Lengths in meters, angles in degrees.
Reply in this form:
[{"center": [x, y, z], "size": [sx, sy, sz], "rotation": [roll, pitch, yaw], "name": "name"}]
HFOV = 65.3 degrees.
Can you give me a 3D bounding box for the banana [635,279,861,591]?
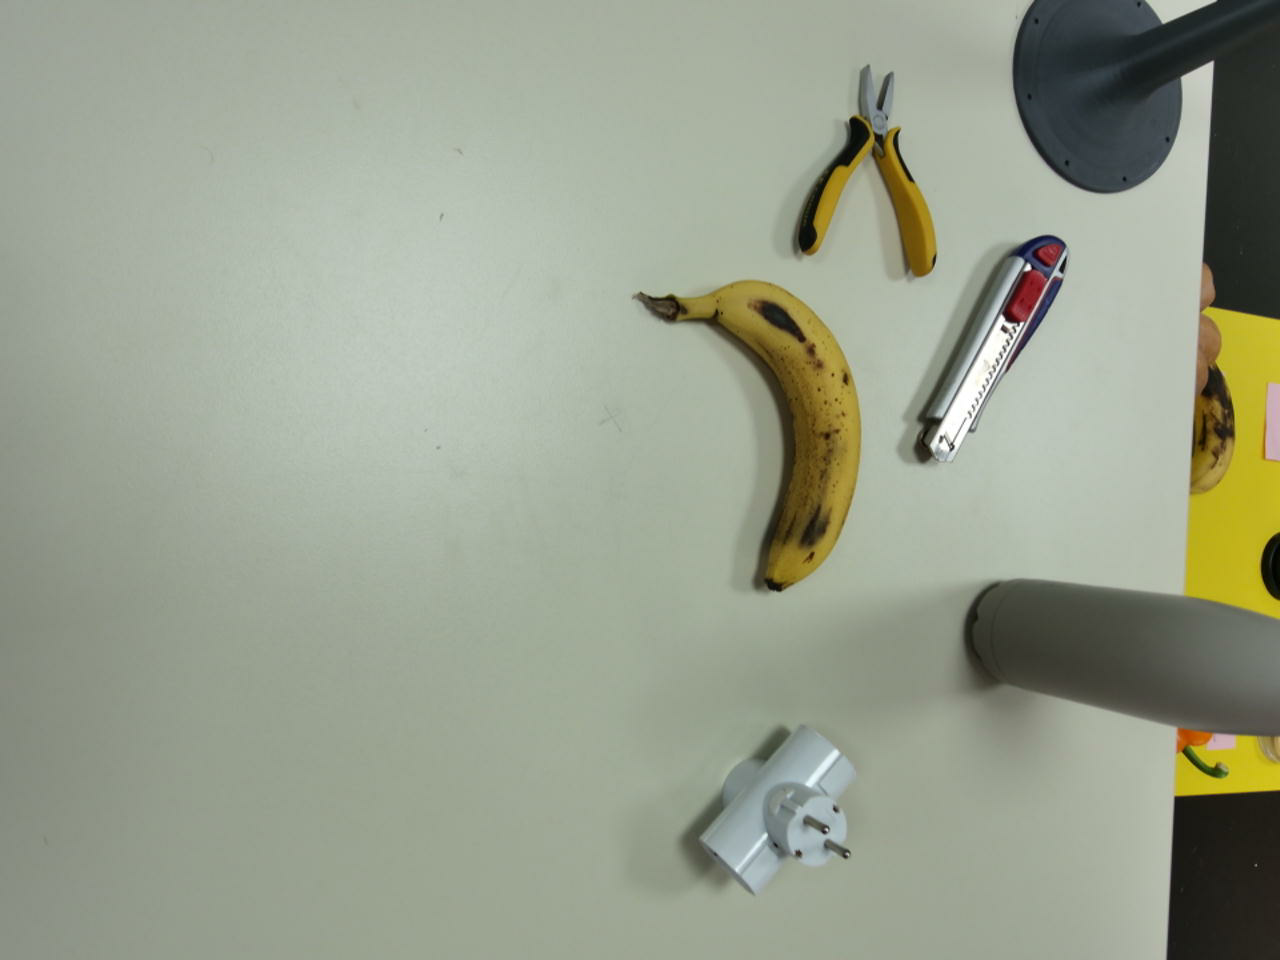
[{"center": [0.084, -0.036, 0.588], "size": [0.097, 0.038, 0.186], "rotation": [-25, 99, -20], "name": "banana"}]
